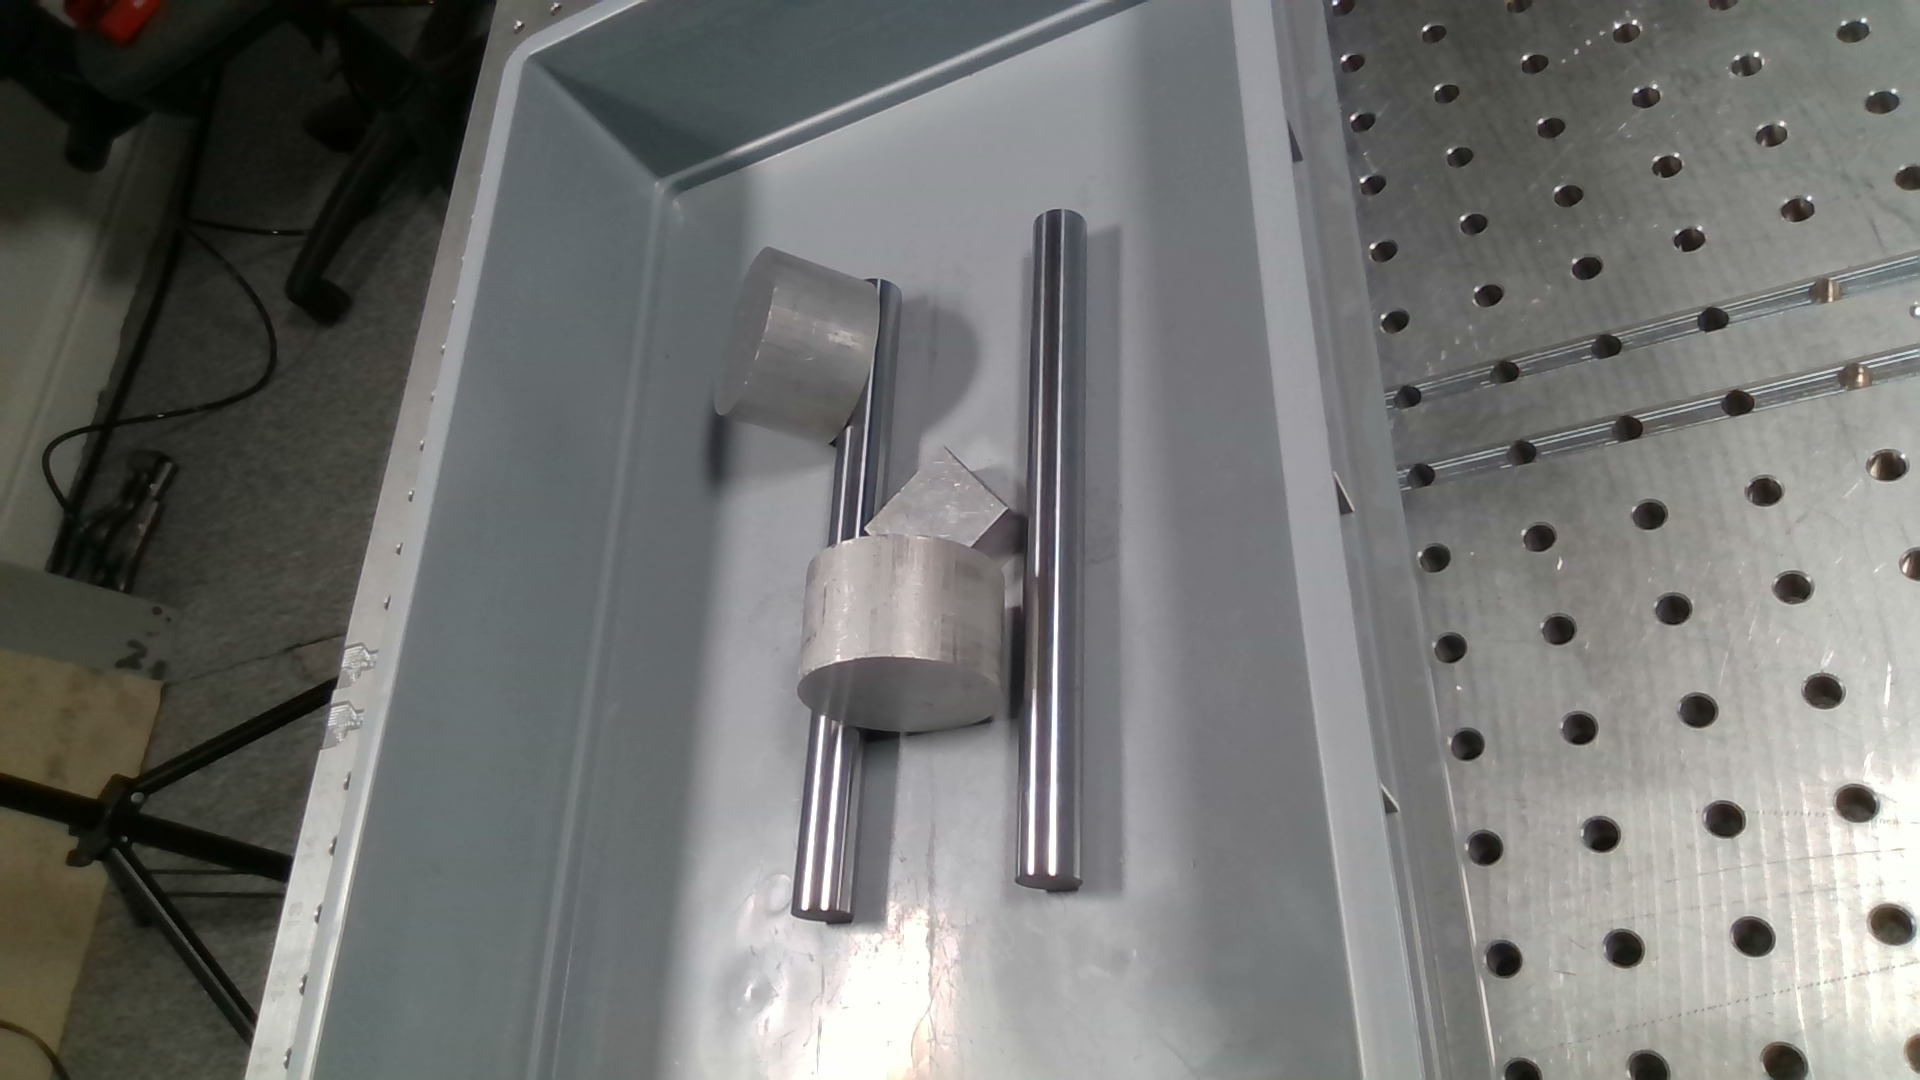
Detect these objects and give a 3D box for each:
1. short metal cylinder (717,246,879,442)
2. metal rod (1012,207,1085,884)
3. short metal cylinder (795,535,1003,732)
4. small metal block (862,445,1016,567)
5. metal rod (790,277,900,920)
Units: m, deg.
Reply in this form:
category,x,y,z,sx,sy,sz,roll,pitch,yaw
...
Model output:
category,x,y,z,sx,sy,sz,roll,pitch,yaw
short metal cylinder,-0.077,-0.090,0.641,0.080,0.050,0.080,-45,37,49
metal rod,0.039,-0.011,0.565,0.025,0.025,0.299,-11,60,27
short metal cylinder,-0.023,0.039,0.542,0.080,0.080,0.050,-13,59,26
small metal block,-0.005,-0.004,0.589,0.050,0.025,0.050,-46,51,3
metal rod,-0.048,0.013,0.606,0.025,0.025,0.299,-12,60,26
